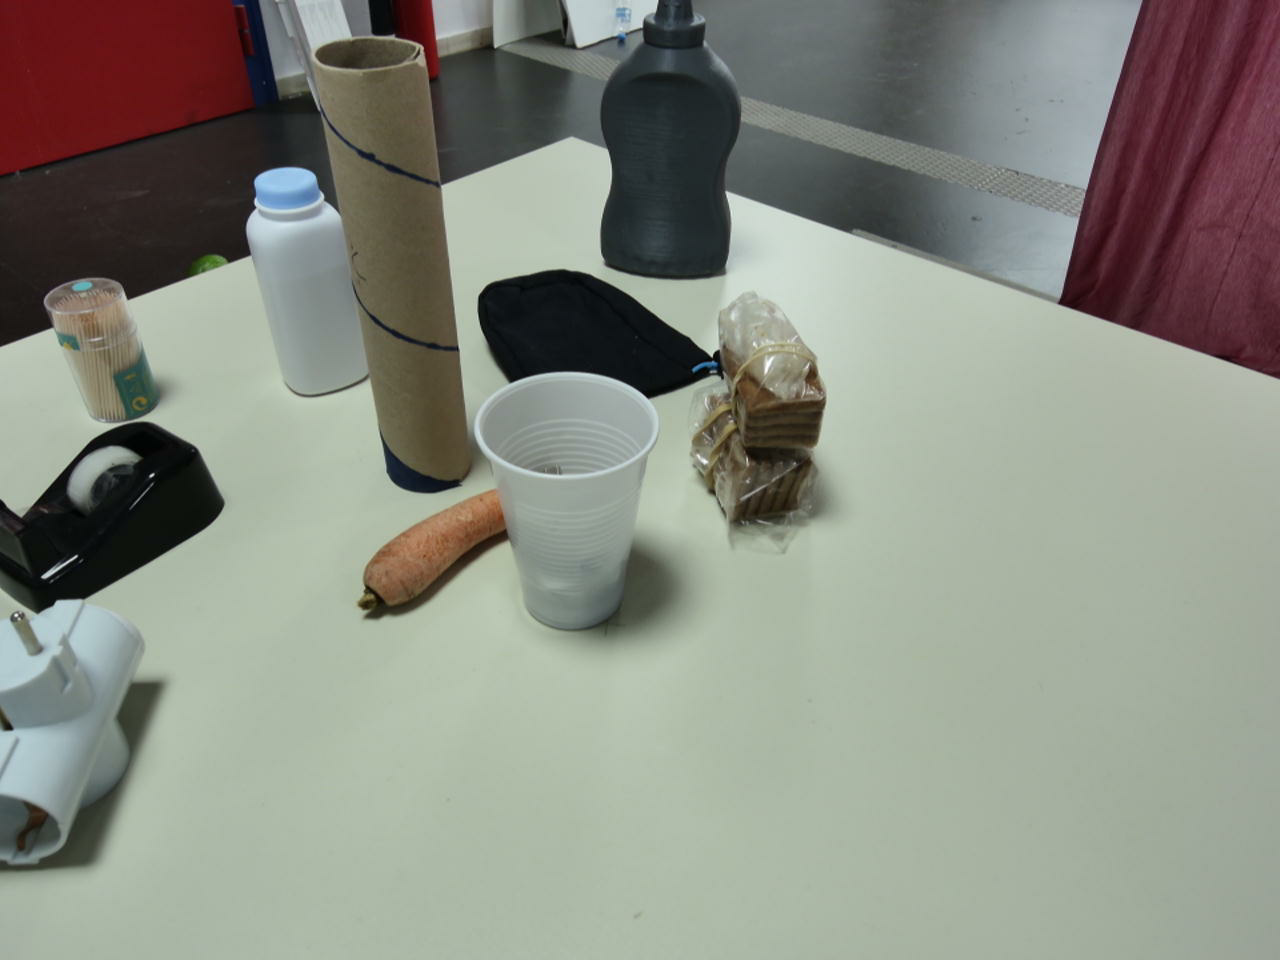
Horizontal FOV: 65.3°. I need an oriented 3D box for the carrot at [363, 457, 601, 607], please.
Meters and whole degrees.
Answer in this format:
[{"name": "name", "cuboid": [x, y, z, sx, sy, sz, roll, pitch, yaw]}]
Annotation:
[{"name": "carrot", "cuboid": [-0.081, 0.018, 0.528, 0.031, 0.029, 0.163, 28, 45, 31]}]
